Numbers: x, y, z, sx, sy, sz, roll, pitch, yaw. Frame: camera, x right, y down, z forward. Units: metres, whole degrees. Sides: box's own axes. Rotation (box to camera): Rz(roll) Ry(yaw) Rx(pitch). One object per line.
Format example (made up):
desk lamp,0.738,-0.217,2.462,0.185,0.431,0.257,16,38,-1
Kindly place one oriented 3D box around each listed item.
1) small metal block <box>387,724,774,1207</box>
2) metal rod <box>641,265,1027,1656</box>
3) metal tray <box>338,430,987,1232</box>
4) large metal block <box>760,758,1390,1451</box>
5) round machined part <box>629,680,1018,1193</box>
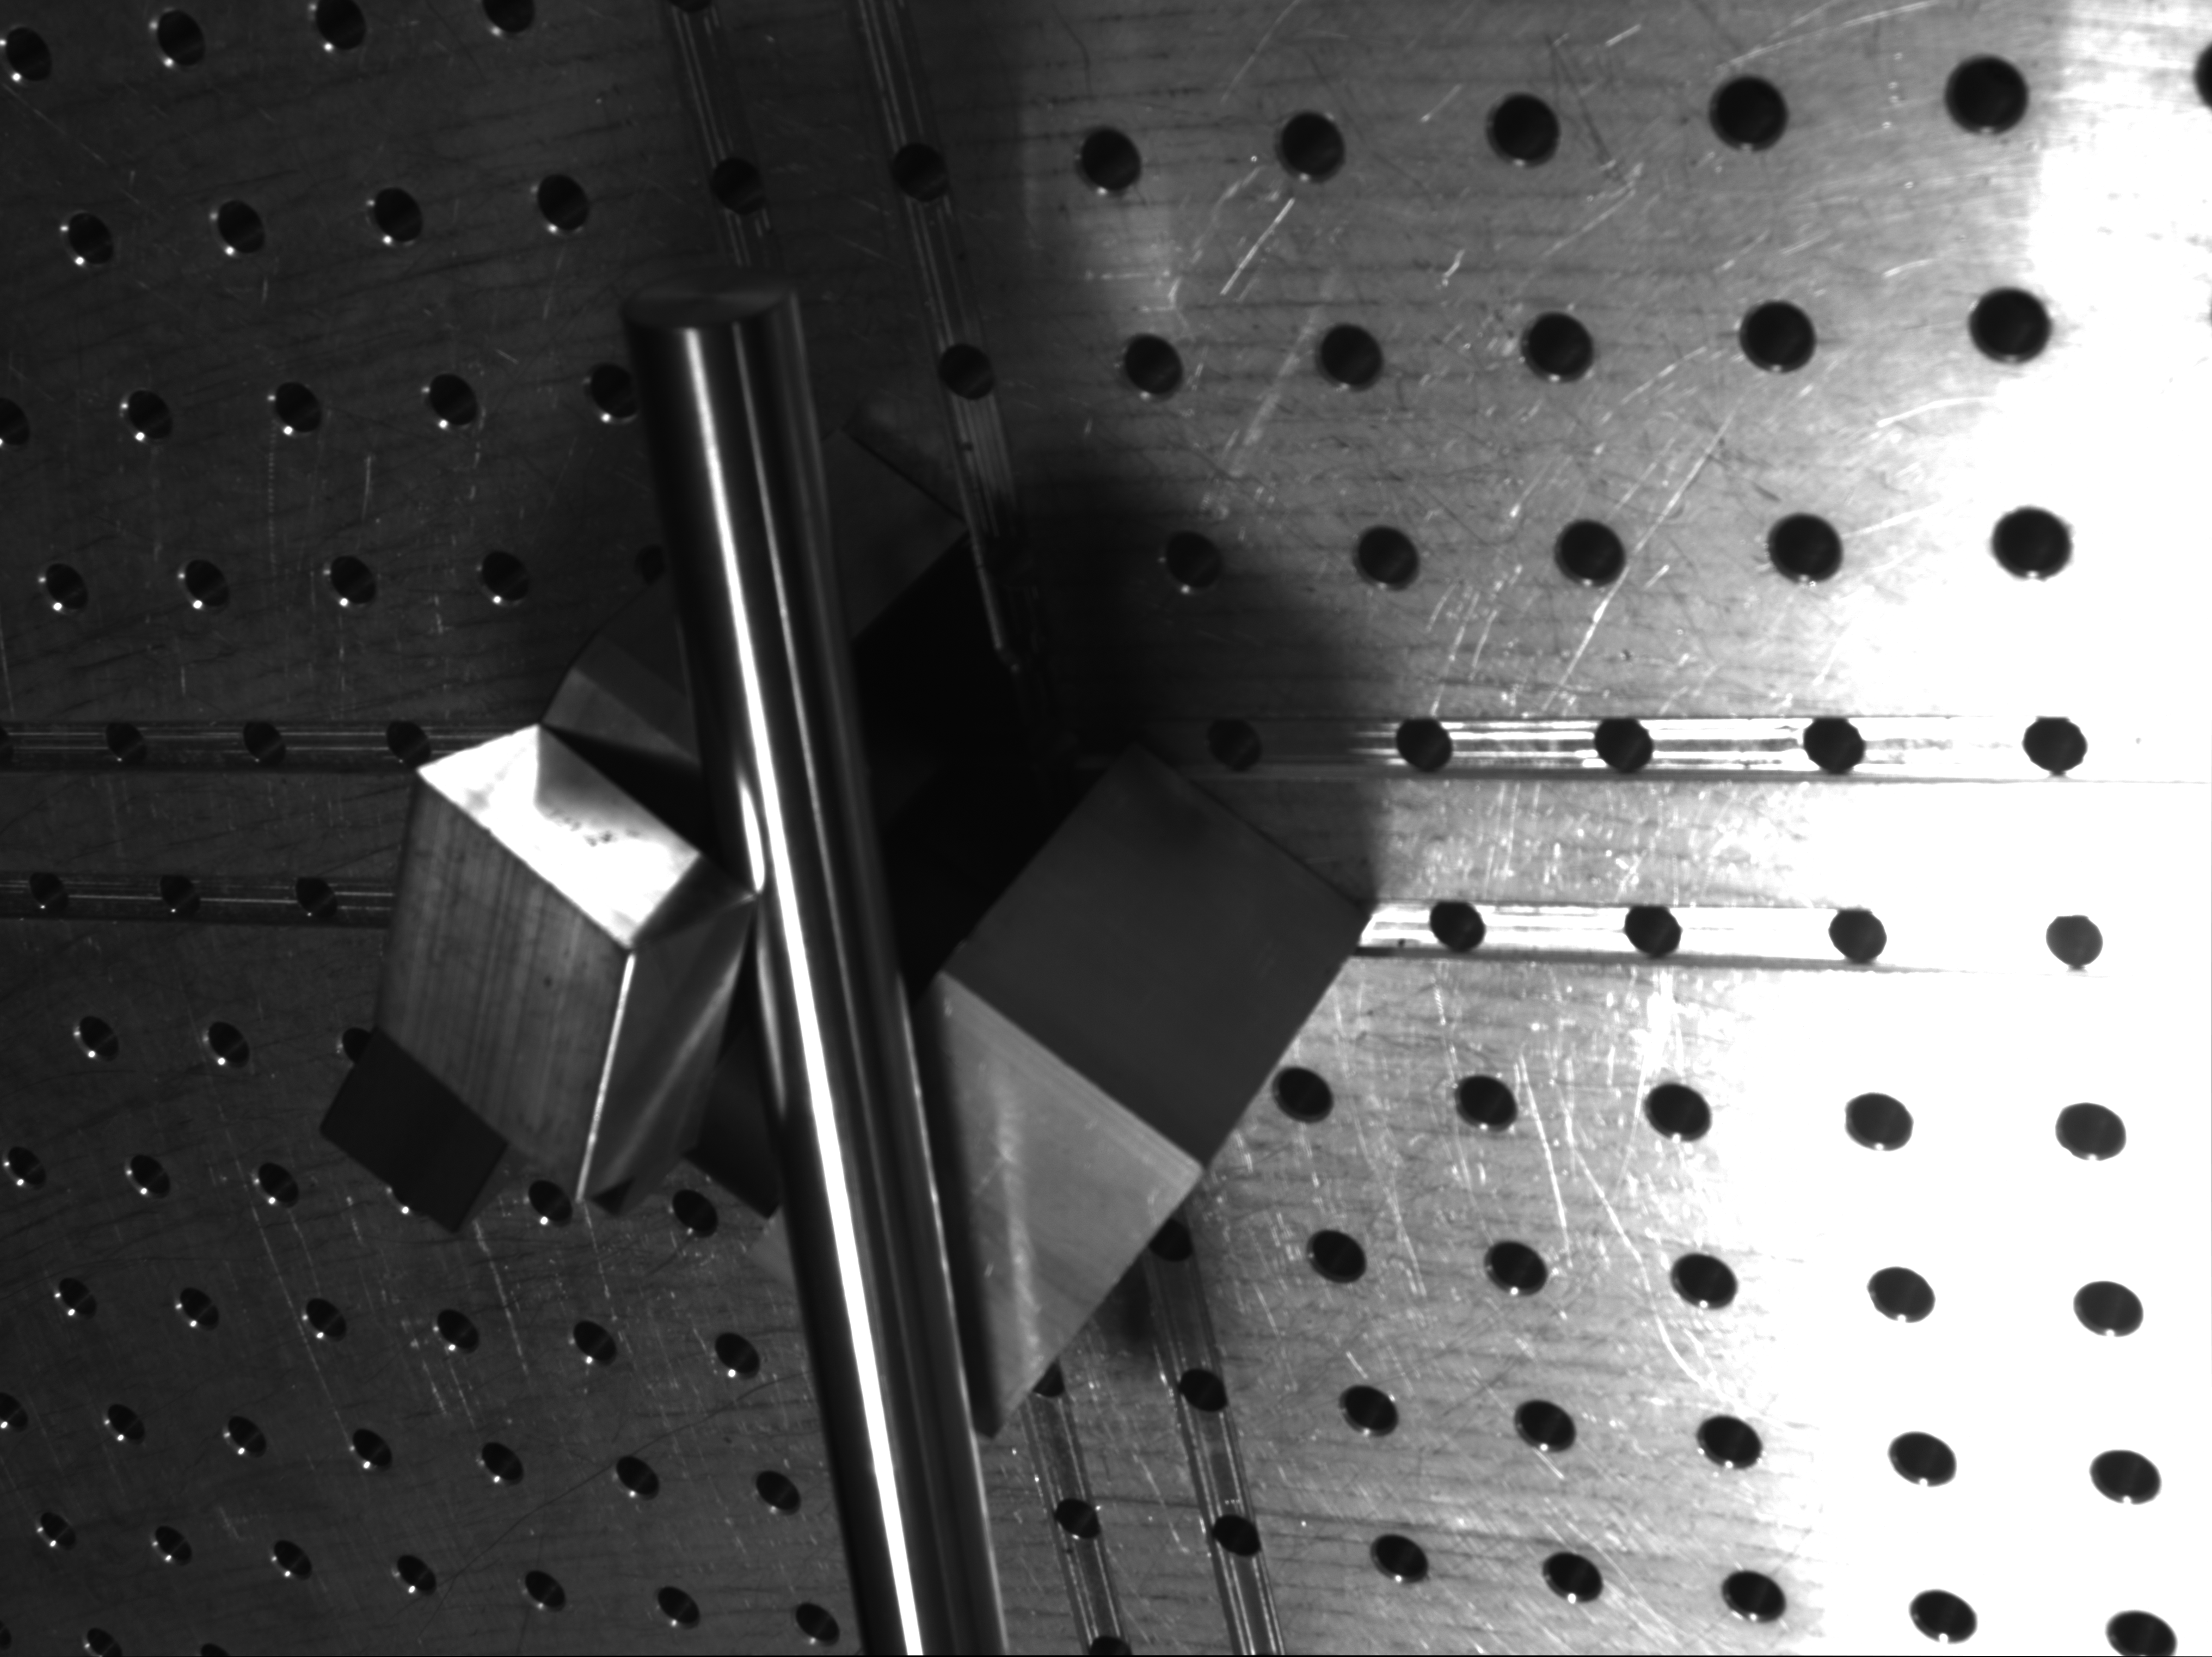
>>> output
small metal block,-0.082,0.021,0.563,0.050,0.025,0.050,37,129,26
metal rod,-0.036,0.057,0.584,0.025,0.025,0.300,6,121,23
metal tray,-0.077,0.001,0.632,0.030,0.090,0.130,37,128,3
large metal block,-0.005,0.048,0.626,0.050,0.080,0.080,37,128,3
round machined part,-0.051,0.024,0.633,0.042,0.098,0.098,36,128,3
